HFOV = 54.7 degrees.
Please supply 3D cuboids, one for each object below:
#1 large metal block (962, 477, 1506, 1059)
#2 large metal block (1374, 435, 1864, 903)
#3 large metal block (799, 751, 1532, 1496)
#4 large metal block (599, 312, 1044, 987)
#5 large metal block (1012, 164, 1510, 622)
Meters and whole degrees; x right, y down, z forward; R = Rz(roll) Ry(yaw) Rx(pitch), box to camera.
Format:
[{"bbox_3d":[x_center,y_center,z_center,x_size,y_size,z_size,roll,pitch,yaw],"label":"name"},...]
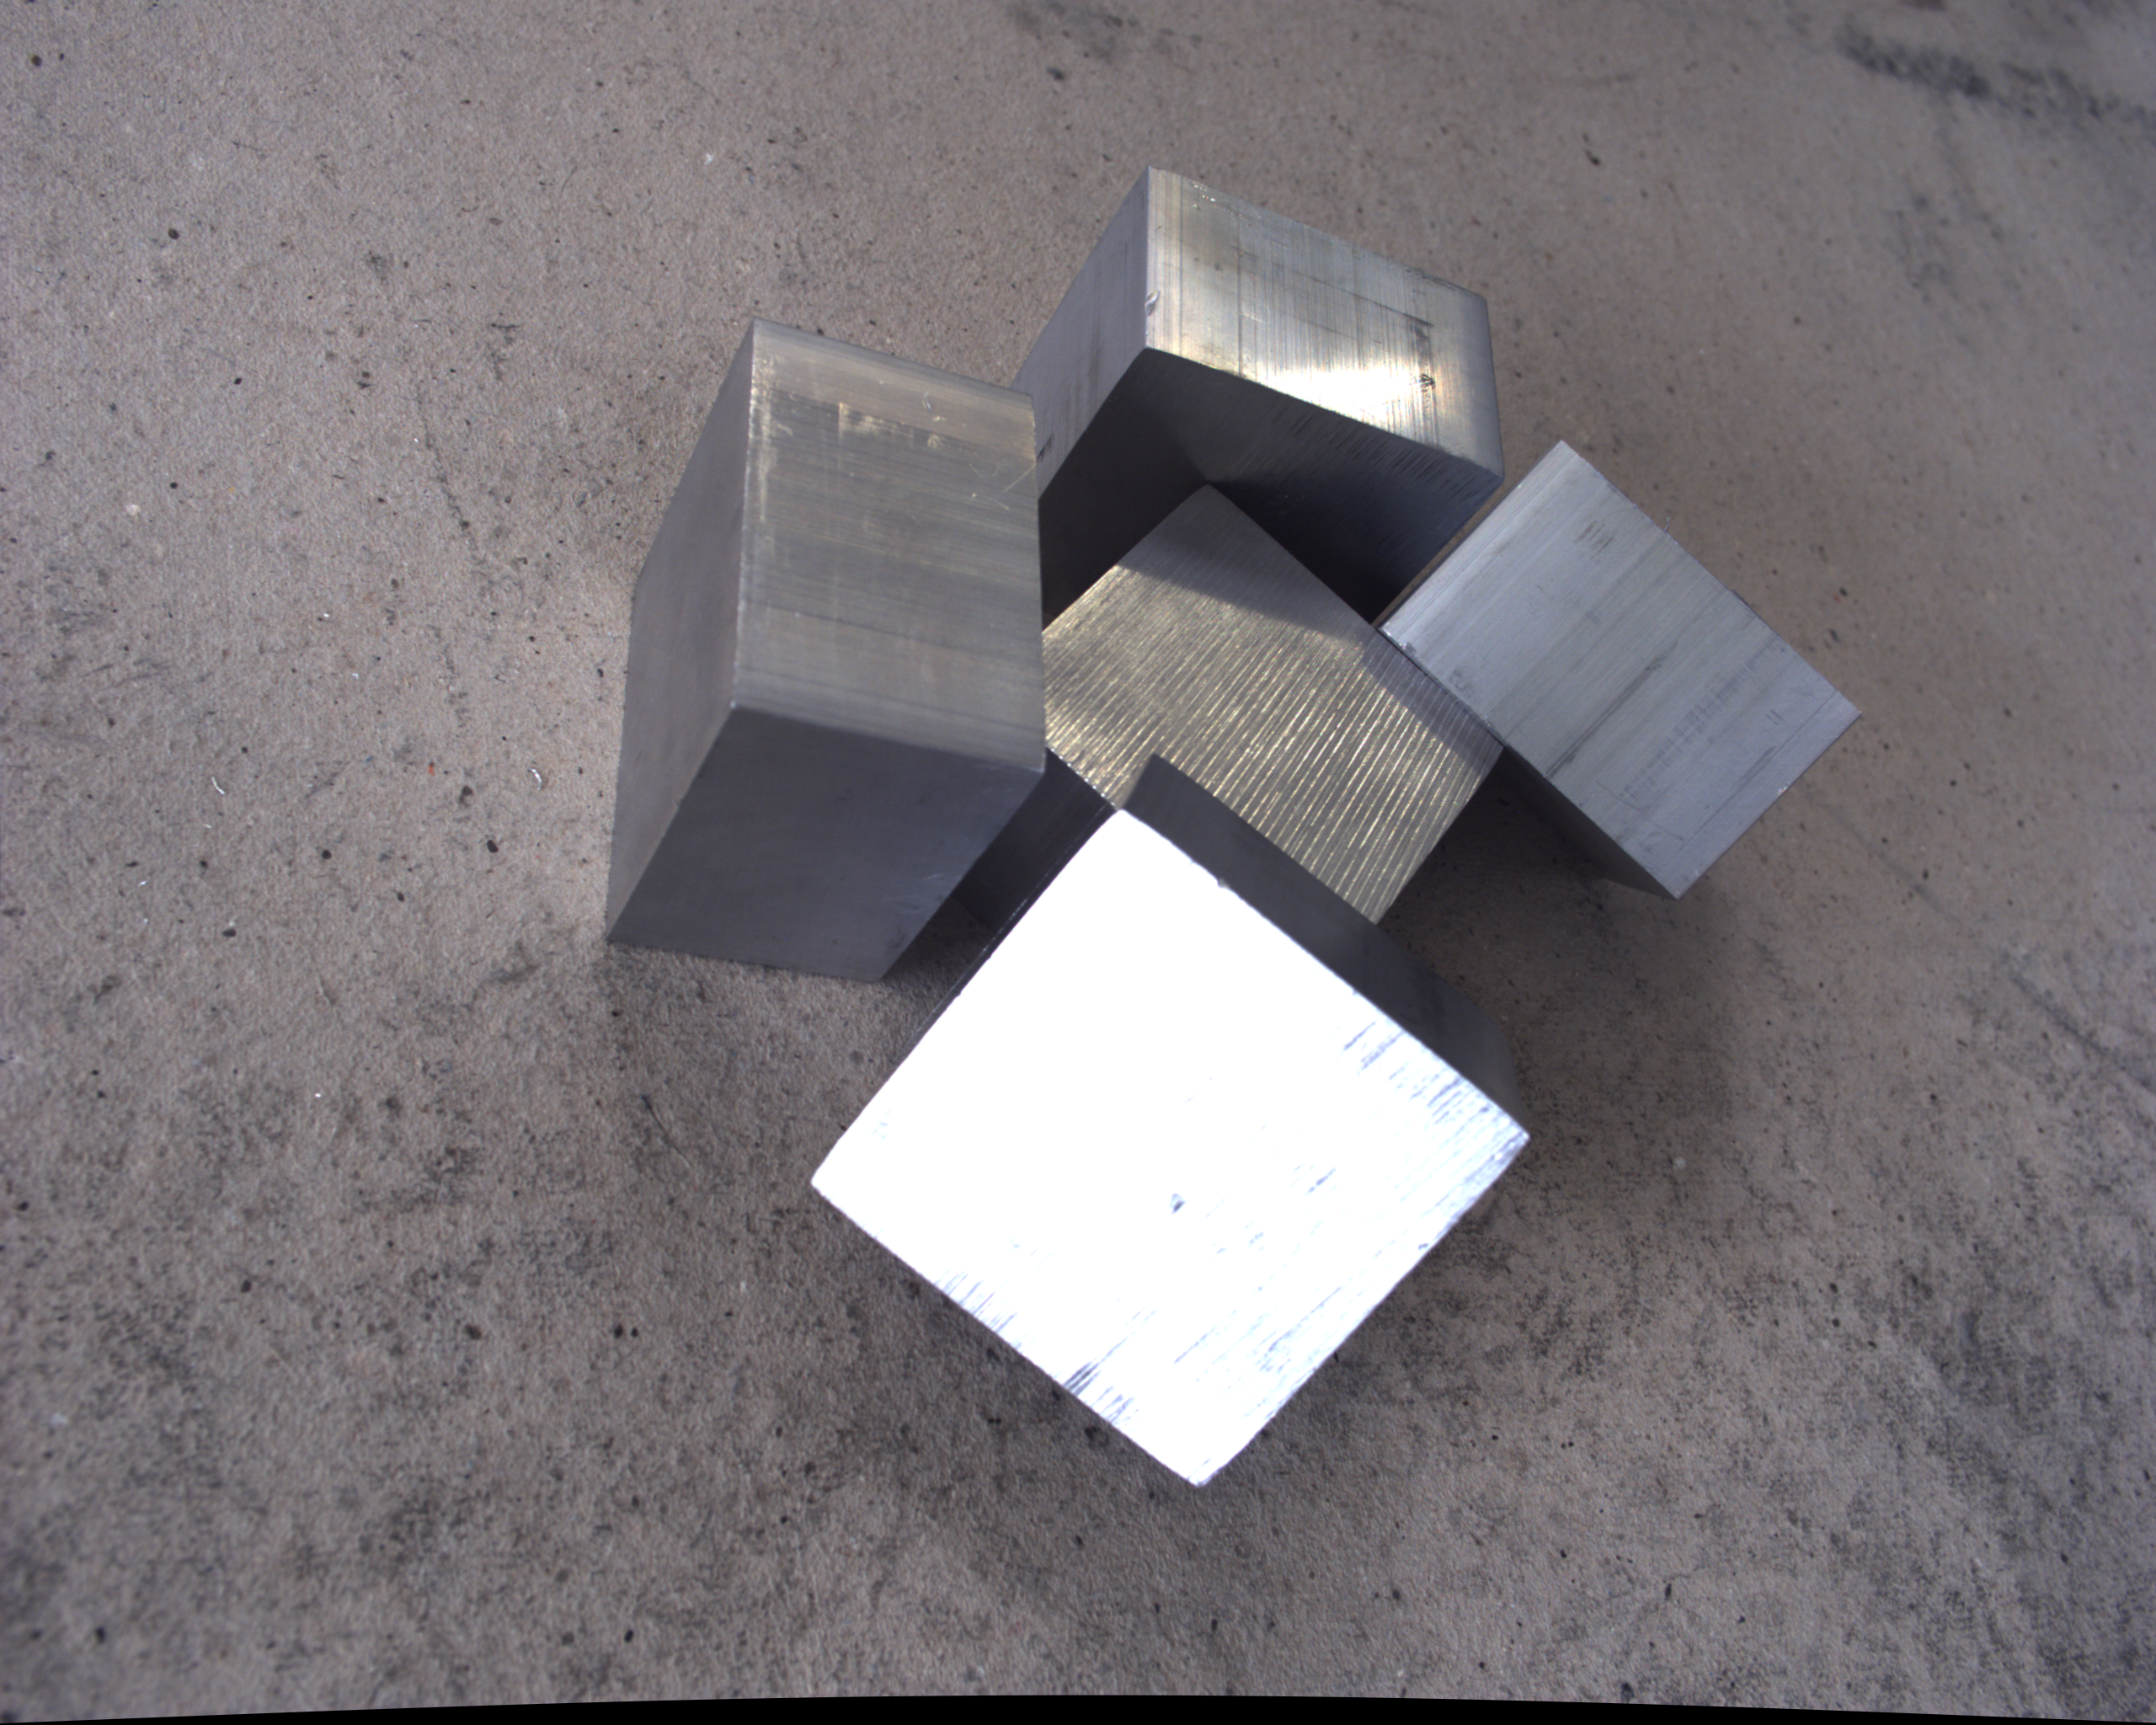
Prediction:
[{"bbox_3d":[0.024,-0.015,0.409,0.080,0.050,0.080,43,51,-1],"label":"large metal block"},{"bbox_3d":[0.108,-0.039,0.444,0.080,0.080,0.050,43,95,1],"label":"large metal block"},{"bbox_3d":[0.015,0.041,0.345,0.080,0.080,0.050,39,14,-2],"label":"large metal block"},{"bbox_3d":[-0.046,-0.034,0.367,0.050,0.080,0.080,12,58,-23],"label":"large metal block"},{"bbox_3d":[0.033,-0.088,0.441,0.081,0.080,0.050,15,56,-20],"label":"large metal block"}]
